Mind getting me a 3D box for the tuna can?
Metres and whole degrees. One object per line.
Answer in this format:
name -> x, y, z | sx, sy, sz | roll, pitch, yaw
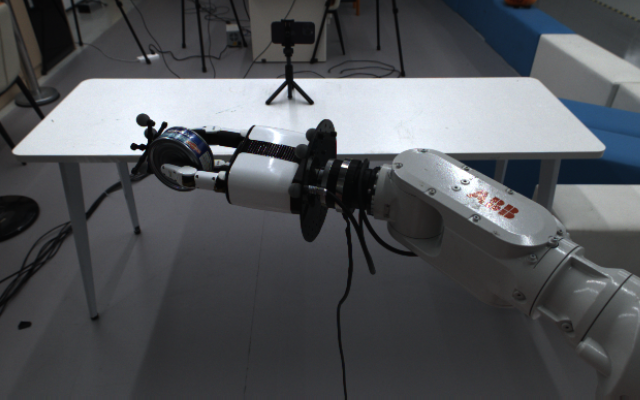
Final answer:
tuna can -> -0.189, -0.057, 0.662 | 0.085, 0.085, 0.034 | 11, 36, 12
